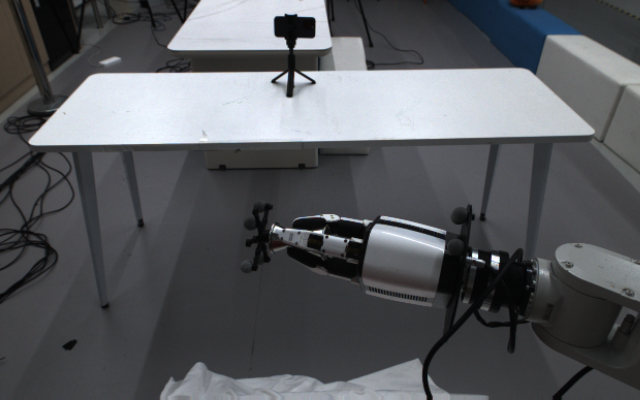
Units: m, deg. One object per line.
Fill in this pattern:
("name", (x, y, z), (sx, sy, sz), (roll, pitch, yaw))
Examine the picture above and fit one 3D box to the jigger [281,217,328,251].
("jigger", (-0.018, 0.046, 0.596), (0.071, 0.043, 0.043), (4, 34, 14))
